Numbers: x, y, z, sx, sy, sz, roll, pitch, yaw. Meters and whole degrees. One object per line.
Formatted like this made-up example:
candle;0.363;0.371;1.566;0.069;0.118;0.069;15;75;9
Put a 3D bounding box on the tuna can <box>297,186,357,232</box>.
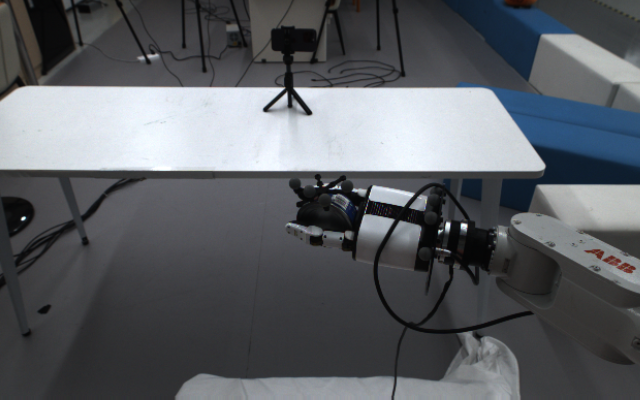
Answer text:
tuna can;0.013;0.026;0.706;0.085;0.085;0.034;14;40;16
